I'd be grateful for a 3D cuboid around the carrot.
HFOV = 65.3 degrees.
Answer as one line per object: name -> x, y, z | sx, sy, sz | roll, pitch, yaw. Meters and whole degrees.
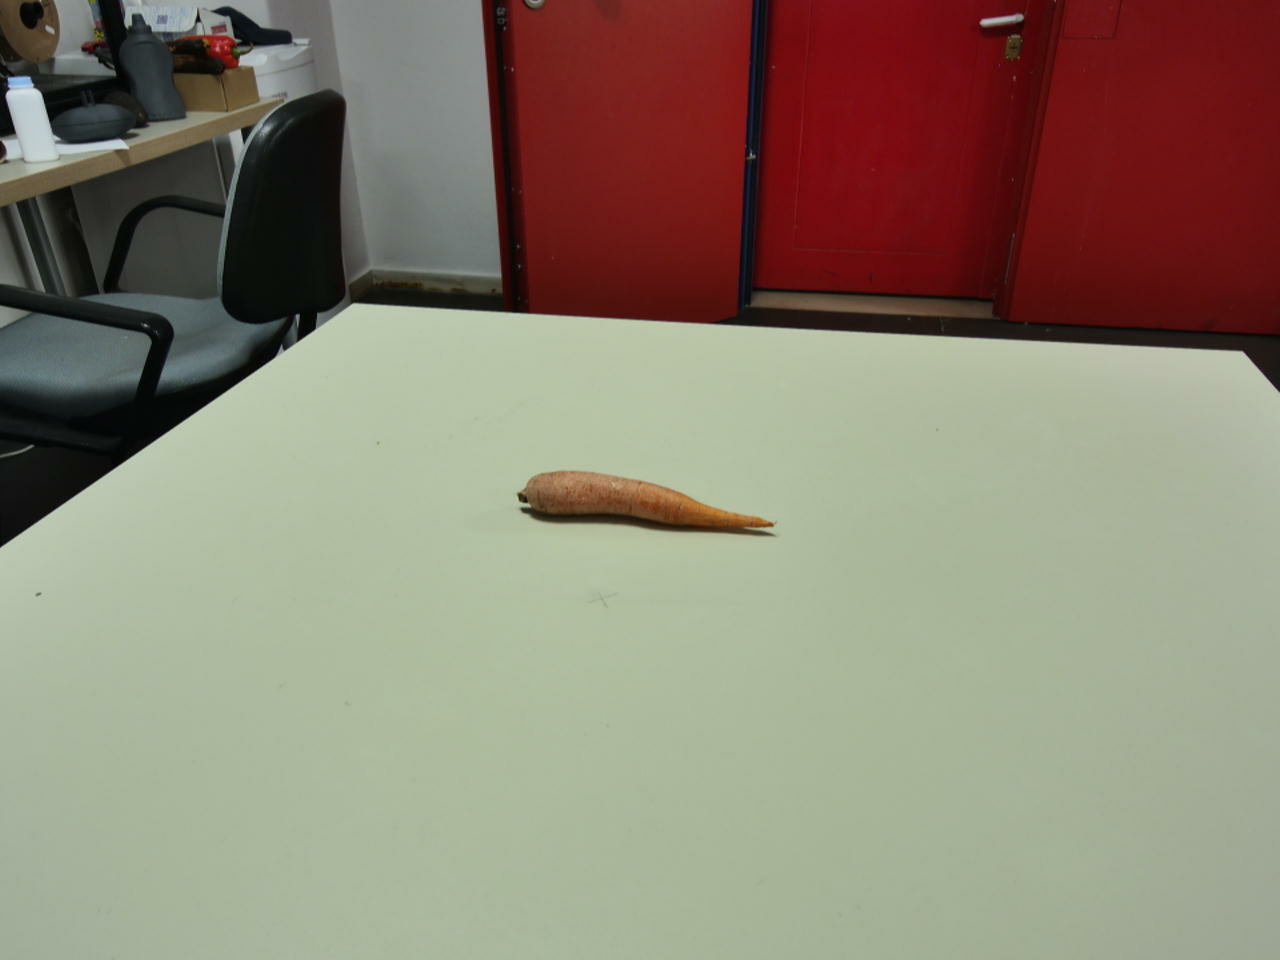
carrot -> 0.002, 0.013, 0.620 | 0.163, 0.029, 0.031 | 5, 27, 11
